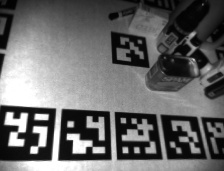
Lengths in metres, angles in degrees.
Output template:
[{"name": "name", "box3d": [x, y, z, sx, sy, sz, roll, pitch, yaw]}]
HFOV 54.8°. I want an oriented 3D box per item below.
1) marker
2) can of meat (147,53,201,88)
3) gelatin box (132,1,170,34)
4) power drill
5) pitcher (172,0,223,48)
[{"name": "marker", "box3d": [0.049, -0.226, 0.617, 0.122, 0.019, 0.019, -22, 75, -25]}, {"name": "can of meat", "box3d": [0.145, -0.035, 0.524, 0.102, 0.083, 0.057, 3, 63, -17]}, {"name": "gelatin box", "box3d": [0.110, -0.182, 0.590, 0.090, 0.073, 0.030, 15, 66, -12]}, {"name": "power drill", "box3d": [0.220, -0.108, 0.529, 0.187, 0.183, 0.057, 38, 63, -4]}, {"name": "pitcher", "box3d": [0.269, -0.207, 0.565, 0.188, 0.242, 0.133, 31, 64, 6]}]
